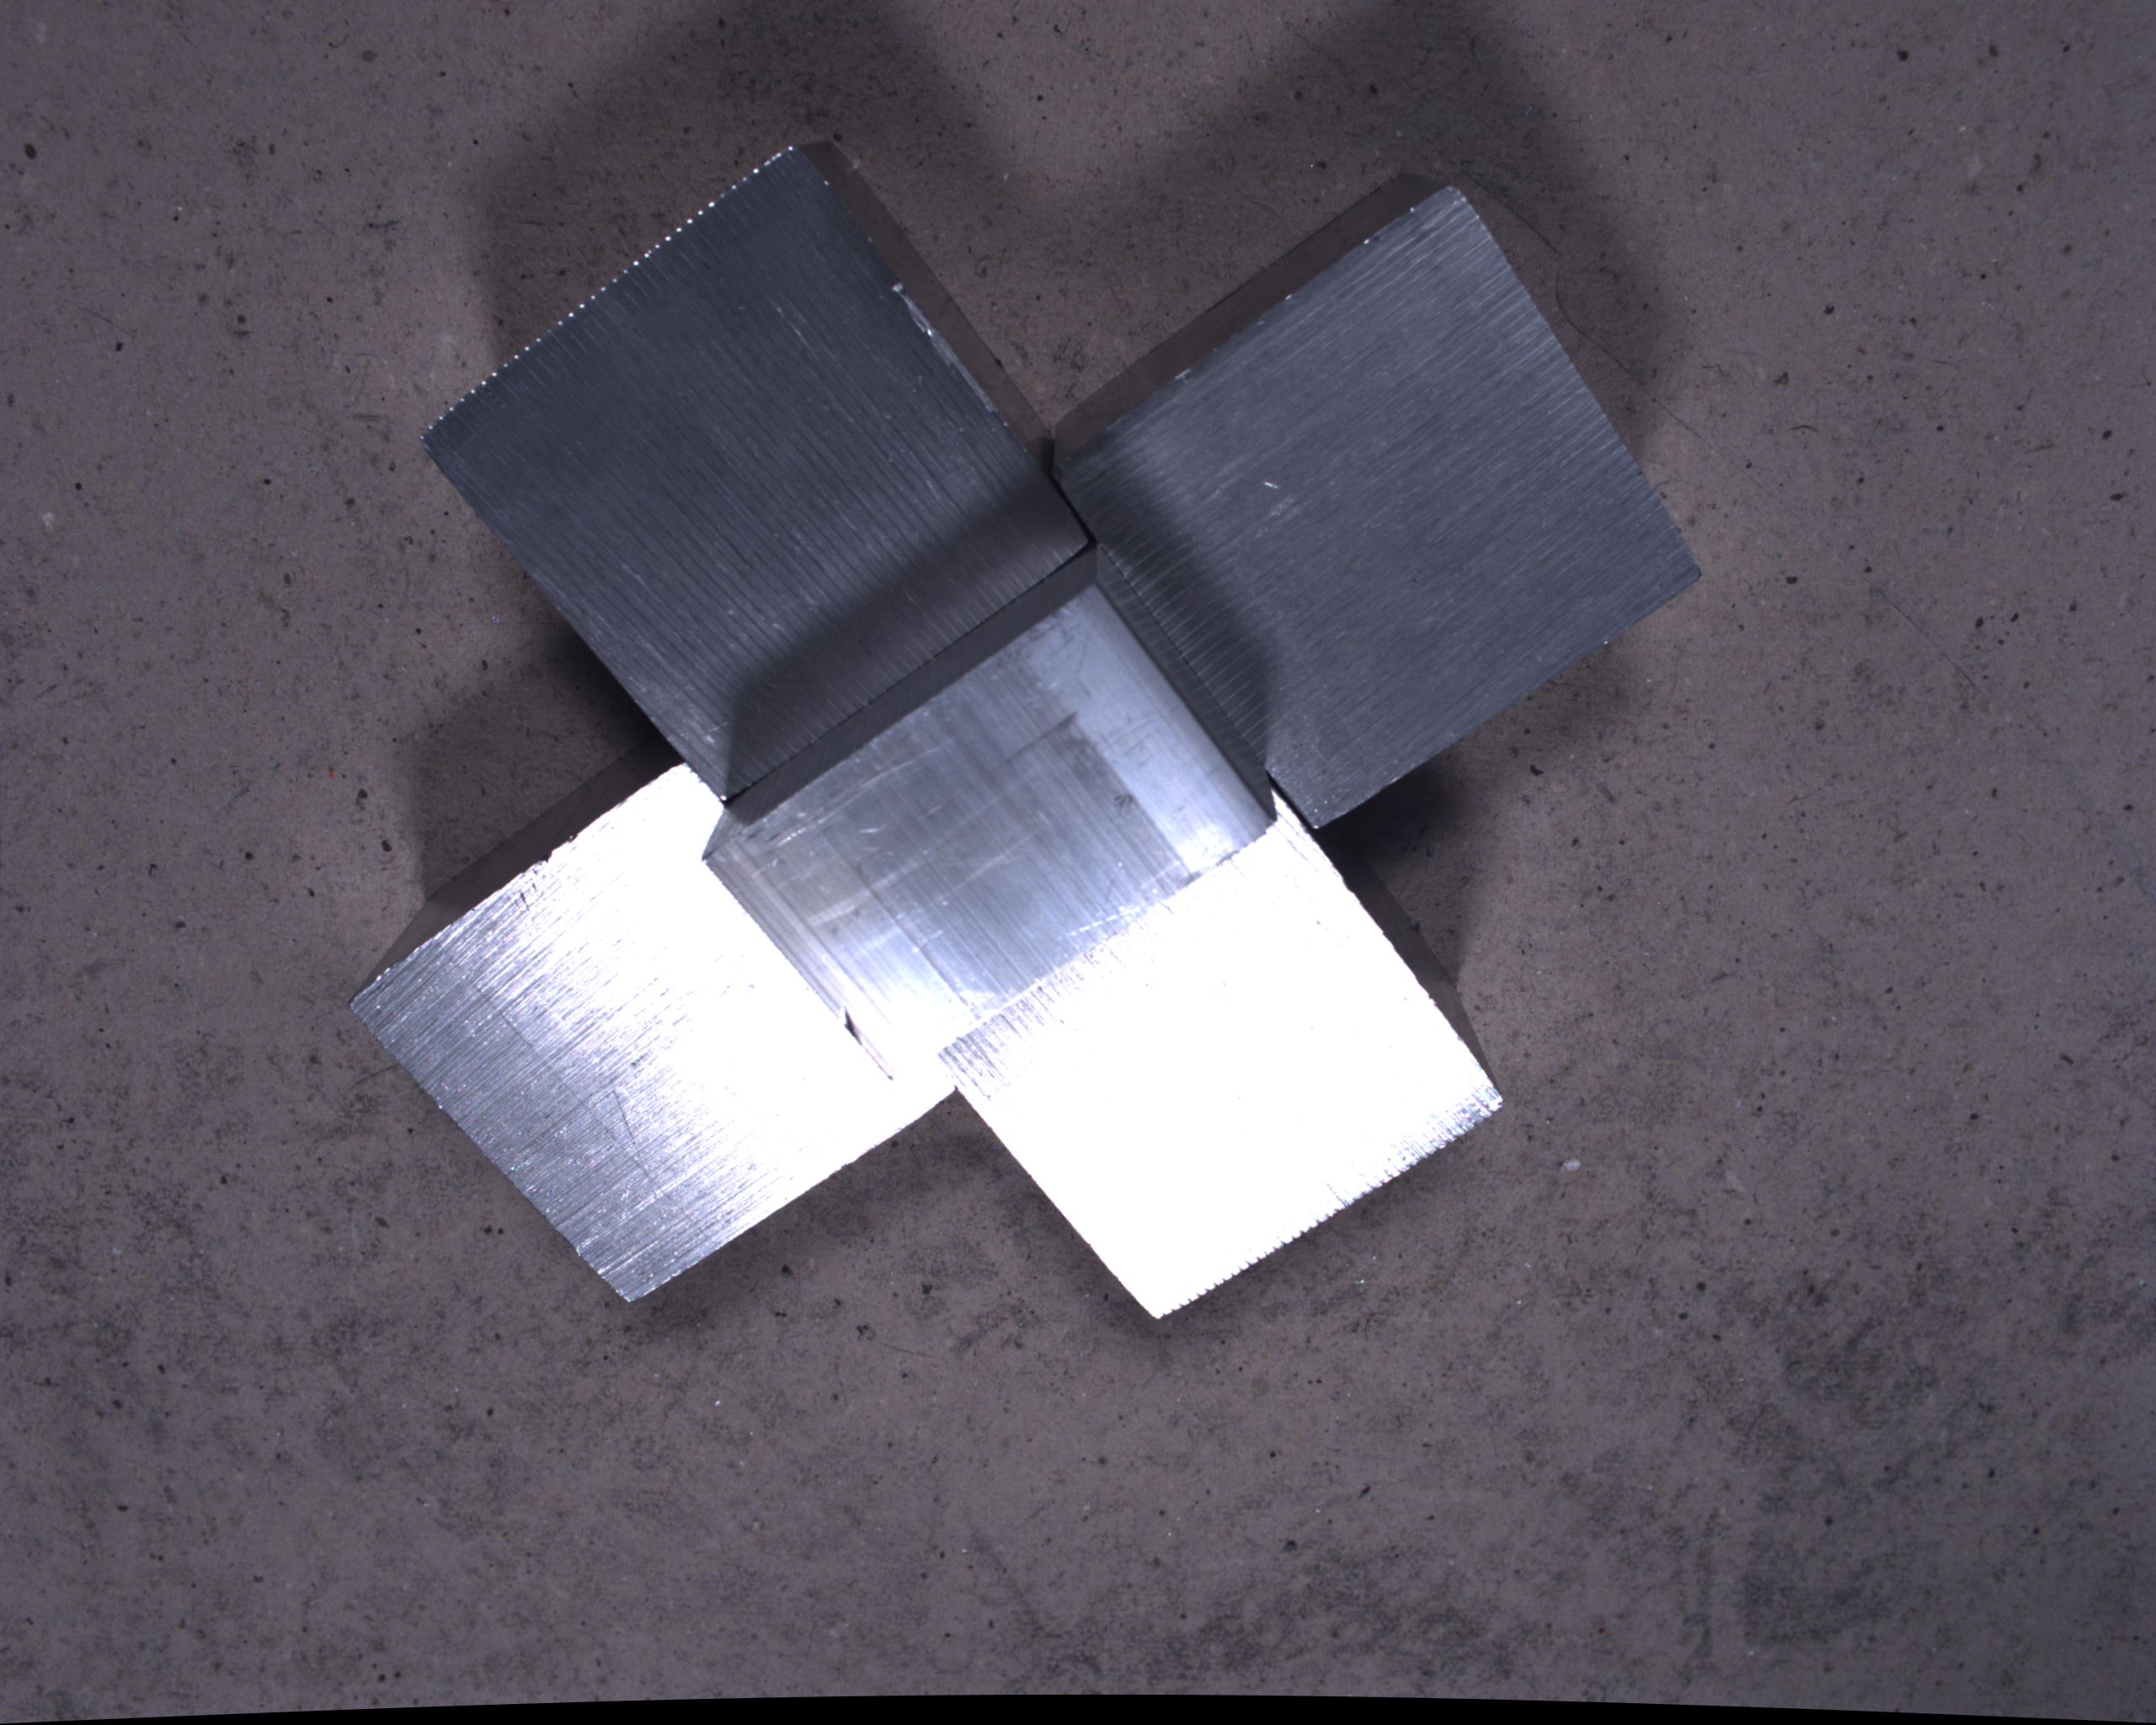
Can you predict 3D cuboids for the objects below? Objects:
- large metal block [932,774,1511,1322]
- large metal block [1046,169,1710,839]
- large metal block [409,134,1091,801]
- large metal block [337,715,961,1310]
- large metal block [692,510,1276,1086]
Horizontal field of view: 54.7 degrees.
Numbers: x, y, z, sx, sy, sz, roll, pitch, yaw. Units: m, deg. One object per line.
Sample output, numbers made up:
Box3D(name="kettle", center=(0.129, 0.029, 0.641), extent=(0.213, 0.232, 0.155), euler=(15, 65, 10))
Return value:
Box3D(name="large metal block", center=(0.024, 0.028, 0.408), extent=(0.080, 0.050, 0.080), euler=(-35, 107, 11))
Box3D(name="large metal block", center=(0.051, -0.065, 0.374), extent=(0.080, 0.050, 0.080), euler=(-35, 107, 11))
Box3D(name="large metal block", center=(-0.054, -0.070, 0.370), extent=(0.080, 0.050, 0.080), euler=(-35, 107, 11))
Box3D(name="large metal block", center=(-0.078, 0.025, 0.405), extent=(0.080, 0.050, 0.080), euler=(-35, 107, 11))
Box3D(name="large metal block", center=(-0.016, -0.017, 0.375), extent=(0.080, 0.080, 0.050), euler=(-34, 107, 11))
